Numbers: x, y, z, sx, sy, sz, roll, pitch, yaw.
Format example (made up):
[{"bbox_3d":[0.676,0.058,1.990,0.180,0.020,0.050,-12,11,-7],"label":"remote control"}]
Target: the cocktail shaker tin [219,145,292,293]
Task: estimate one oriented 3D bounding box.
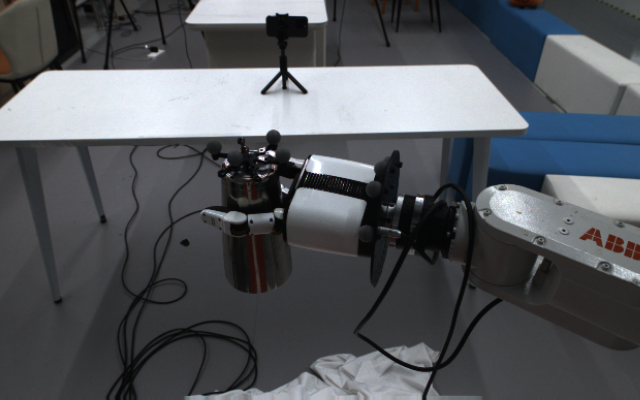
[{"bbox_3d":[-0.078,0.024,0.610,0.093,0.170,0.093,1,39,-1],"label":"cocktail shaker tin"}]
